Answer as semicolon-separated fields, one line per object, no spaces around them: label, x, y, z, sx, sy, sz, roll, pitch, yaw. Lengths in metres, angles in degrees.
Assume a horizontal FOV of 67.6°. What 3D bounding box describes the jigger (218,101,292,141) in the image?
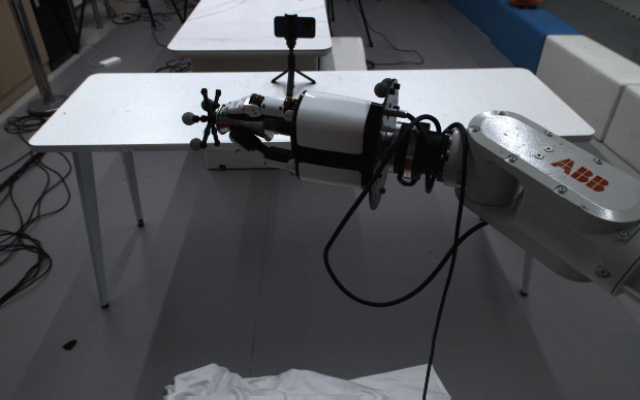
jigger;-0.091;-0.108;0.635;0.071;0.043;0.043;8;35;14
